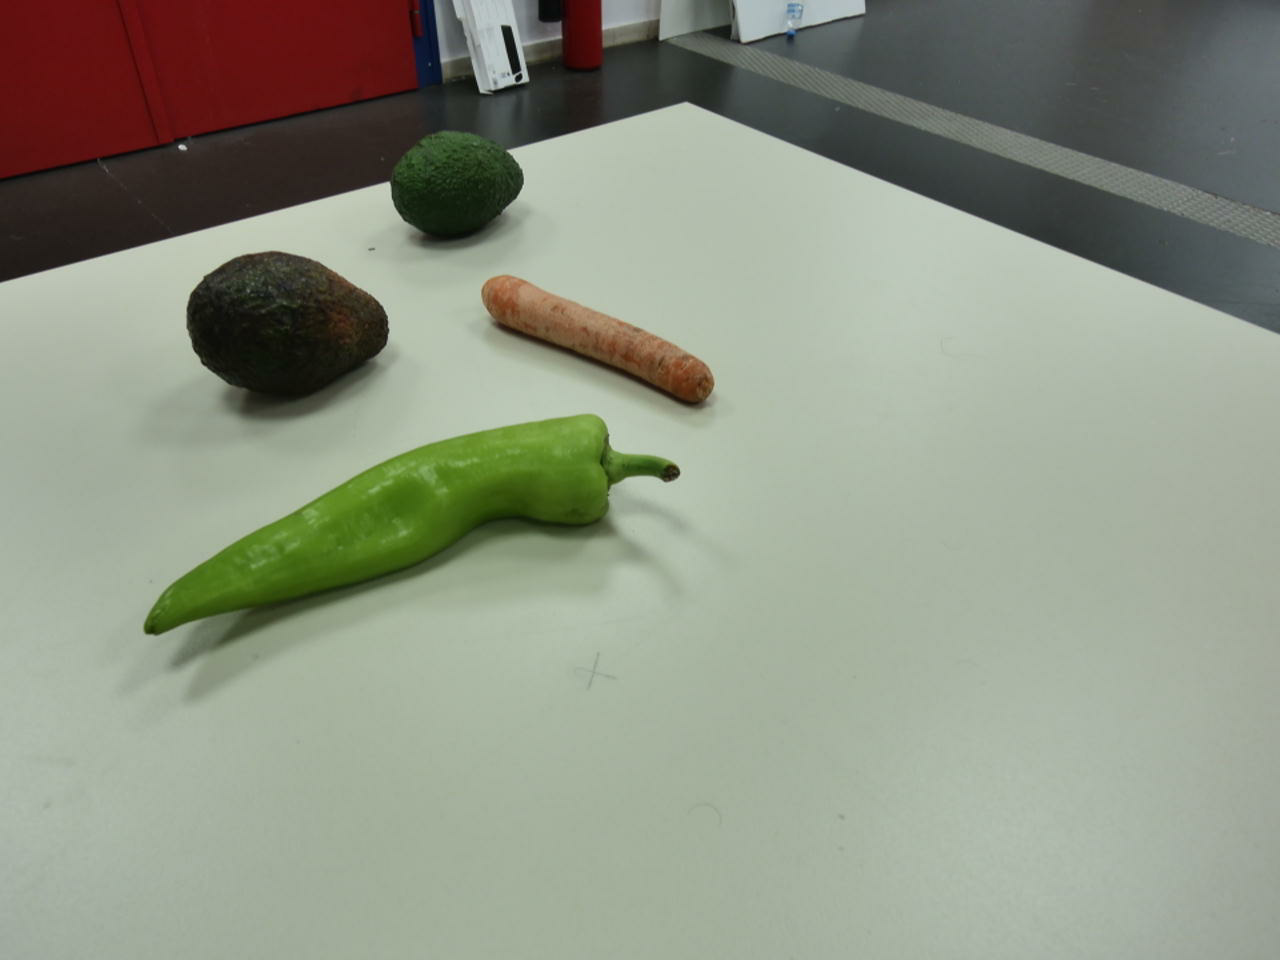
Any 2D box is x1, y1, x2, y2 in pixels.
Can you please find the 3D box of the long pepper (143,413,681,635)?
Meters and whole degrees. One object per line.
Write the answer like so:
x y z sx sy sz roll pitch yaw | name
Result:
-0.088 0.012 0.399 0.204 0.045 0.065 -14 39 -19 | long pepper
